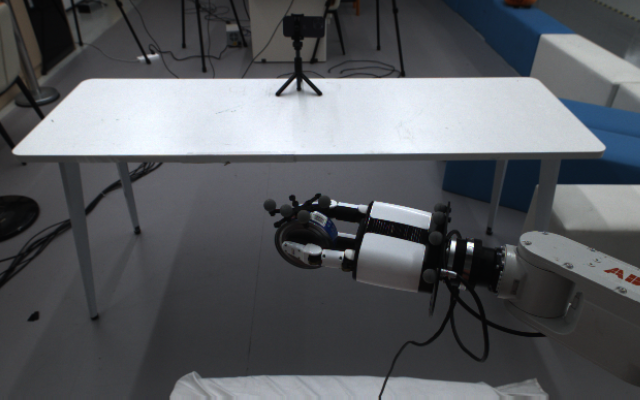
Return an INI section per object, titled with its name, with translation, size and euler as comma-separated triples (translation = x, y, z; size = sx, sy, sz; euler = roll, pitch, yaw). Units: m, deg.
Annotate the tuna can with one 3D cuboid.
[tuna can]
translation = -0.016, 0.059, 0.680
size = 0.085, 0.085, 0.034
euler = 10, 33, 11
